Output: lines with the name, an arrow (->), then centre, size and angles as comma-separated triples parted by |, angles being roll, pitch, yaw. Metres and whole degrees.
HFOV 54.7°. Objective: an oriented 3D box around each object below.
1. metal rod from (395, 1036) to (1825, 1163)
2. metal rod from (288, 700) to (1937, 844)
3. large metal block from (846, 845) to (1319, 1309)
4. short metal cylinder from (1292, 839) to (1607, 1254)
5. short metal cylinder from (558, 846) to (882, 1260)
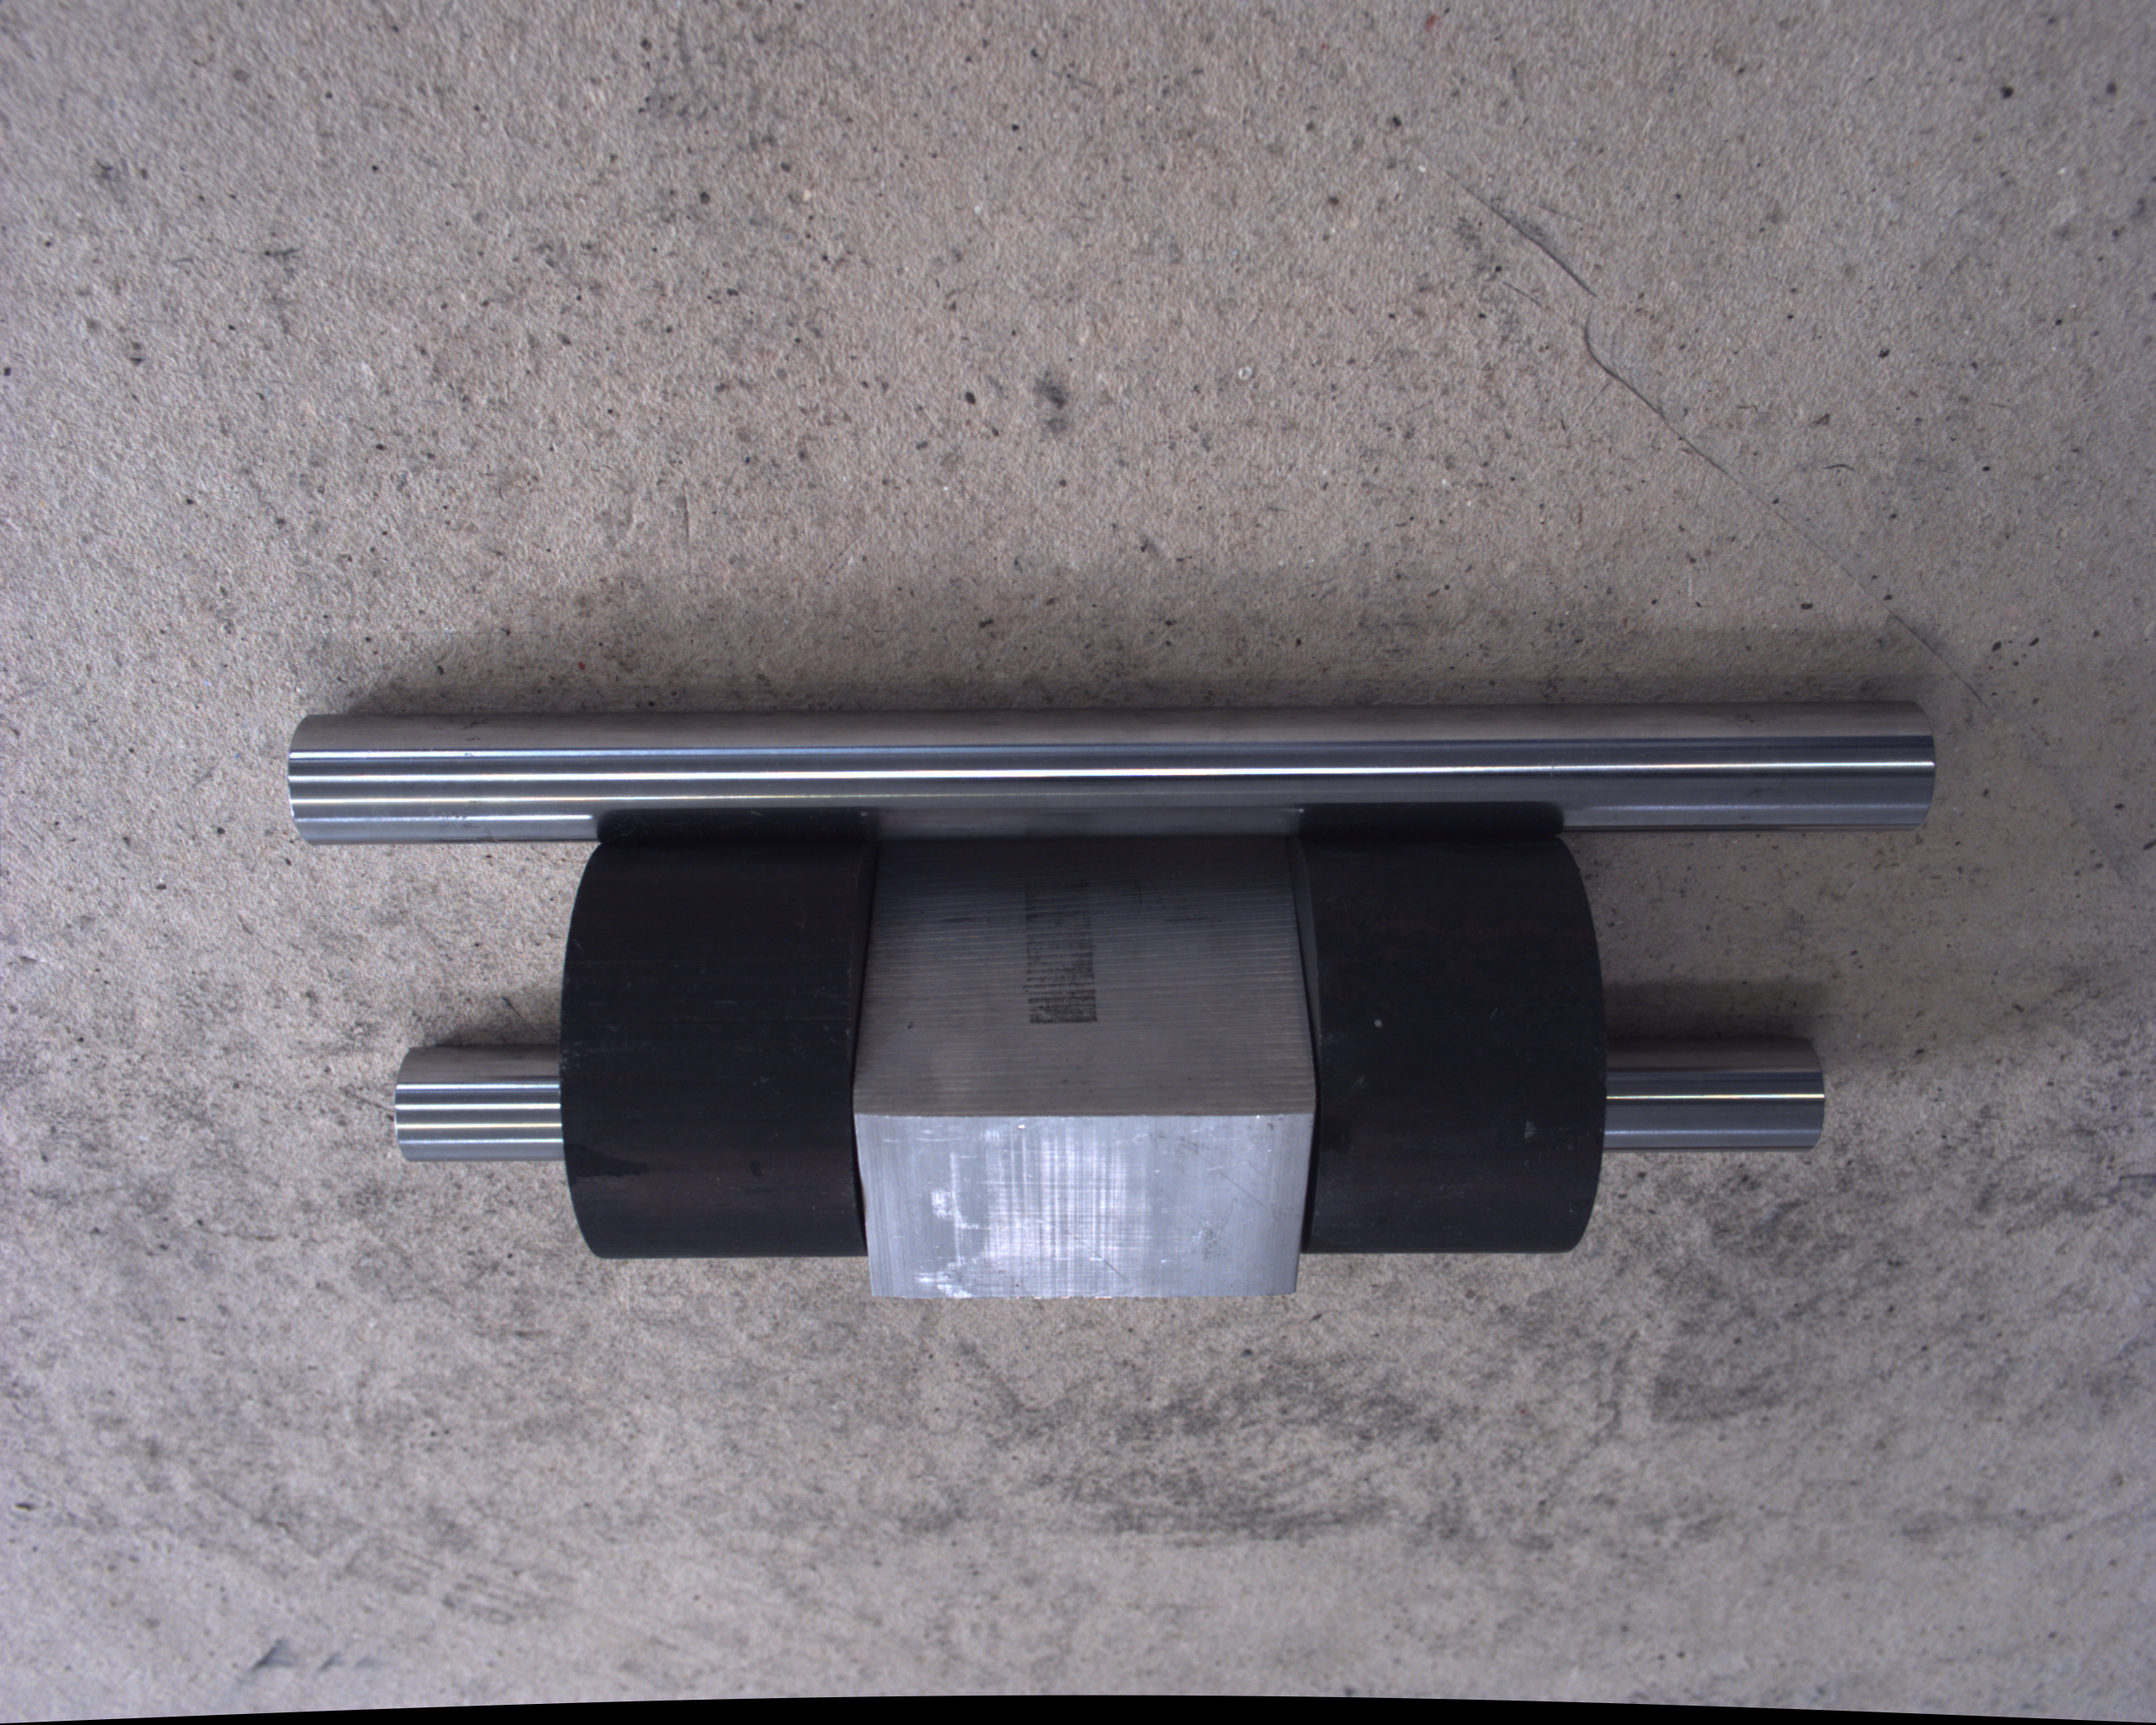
metal rod -> 0.007, 0.051, 0.453 | 0.302, 0.025, 0.025 | 0, 130, 0
metal rod -> 0.007, -0.017, 0.394 | 0.302, 0.025, 0.025 | 0, 130, 0
large metal block -> 0.001, 0.038, 0.402 | 0.081, 0.080, 0.050 | 0, 130, 0
short metal cylinder -> 0.067, 0.035, 0.402 | 0.050, 0.080, 0.079 | -1, 130, 0
short metal cylinder -> -0.065, 0.036, 0.402 | 0.050, 0.080, 0.079 | -1, 130, 0
